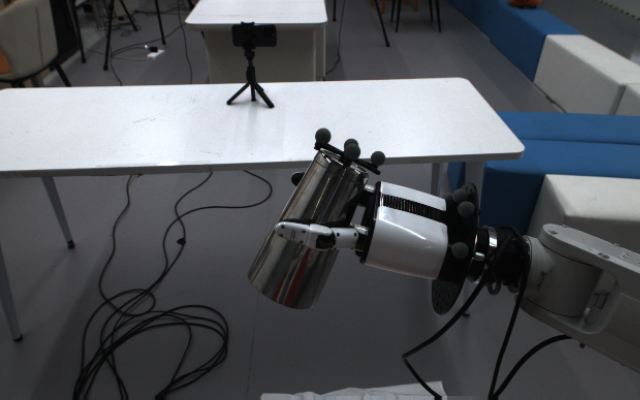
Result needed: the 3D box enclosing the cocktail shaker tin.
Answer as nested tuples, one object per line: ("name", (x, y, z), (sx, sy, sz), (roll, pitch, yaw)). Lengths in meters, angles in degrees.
("cocktail shaker tin", (-0.007, 0.029, 0.570), (0.093, 0.170, 0.093), (24, 13, -6))
